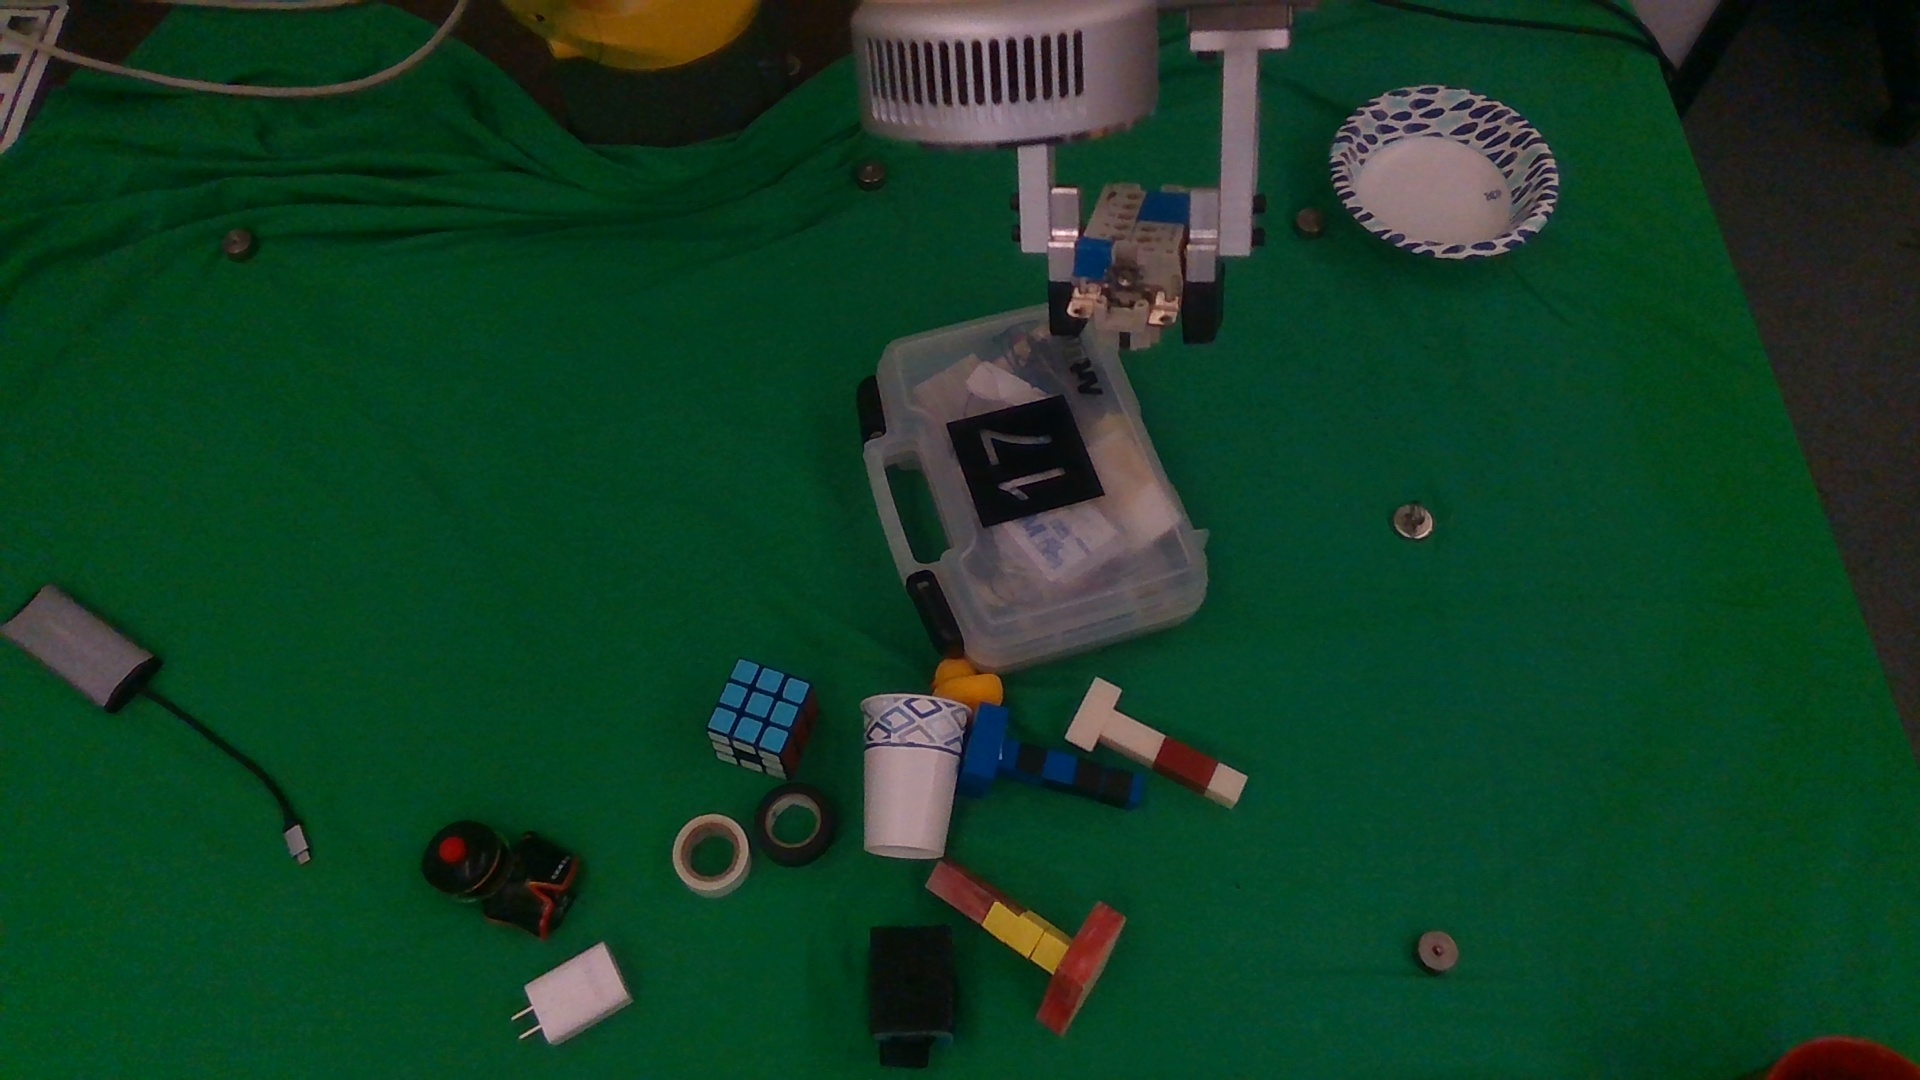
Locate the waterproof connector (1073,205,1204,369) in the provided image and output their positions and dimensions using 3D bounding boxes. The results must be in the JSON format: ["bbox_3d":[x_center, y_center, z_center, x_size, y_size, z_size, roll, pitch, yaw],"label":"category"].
[{"bbox_3d":[0.059,-0.083,0.454,0.035,0.037,0.065,5,41,15],"label":"waterproof connector"}]

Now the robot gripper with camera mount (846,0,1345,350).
[{"bbox_3d":[0.035,-0.097,0.360,0.119,0.158,0.193,2,30,18],"label":"robot gripper with camera mount"}]
